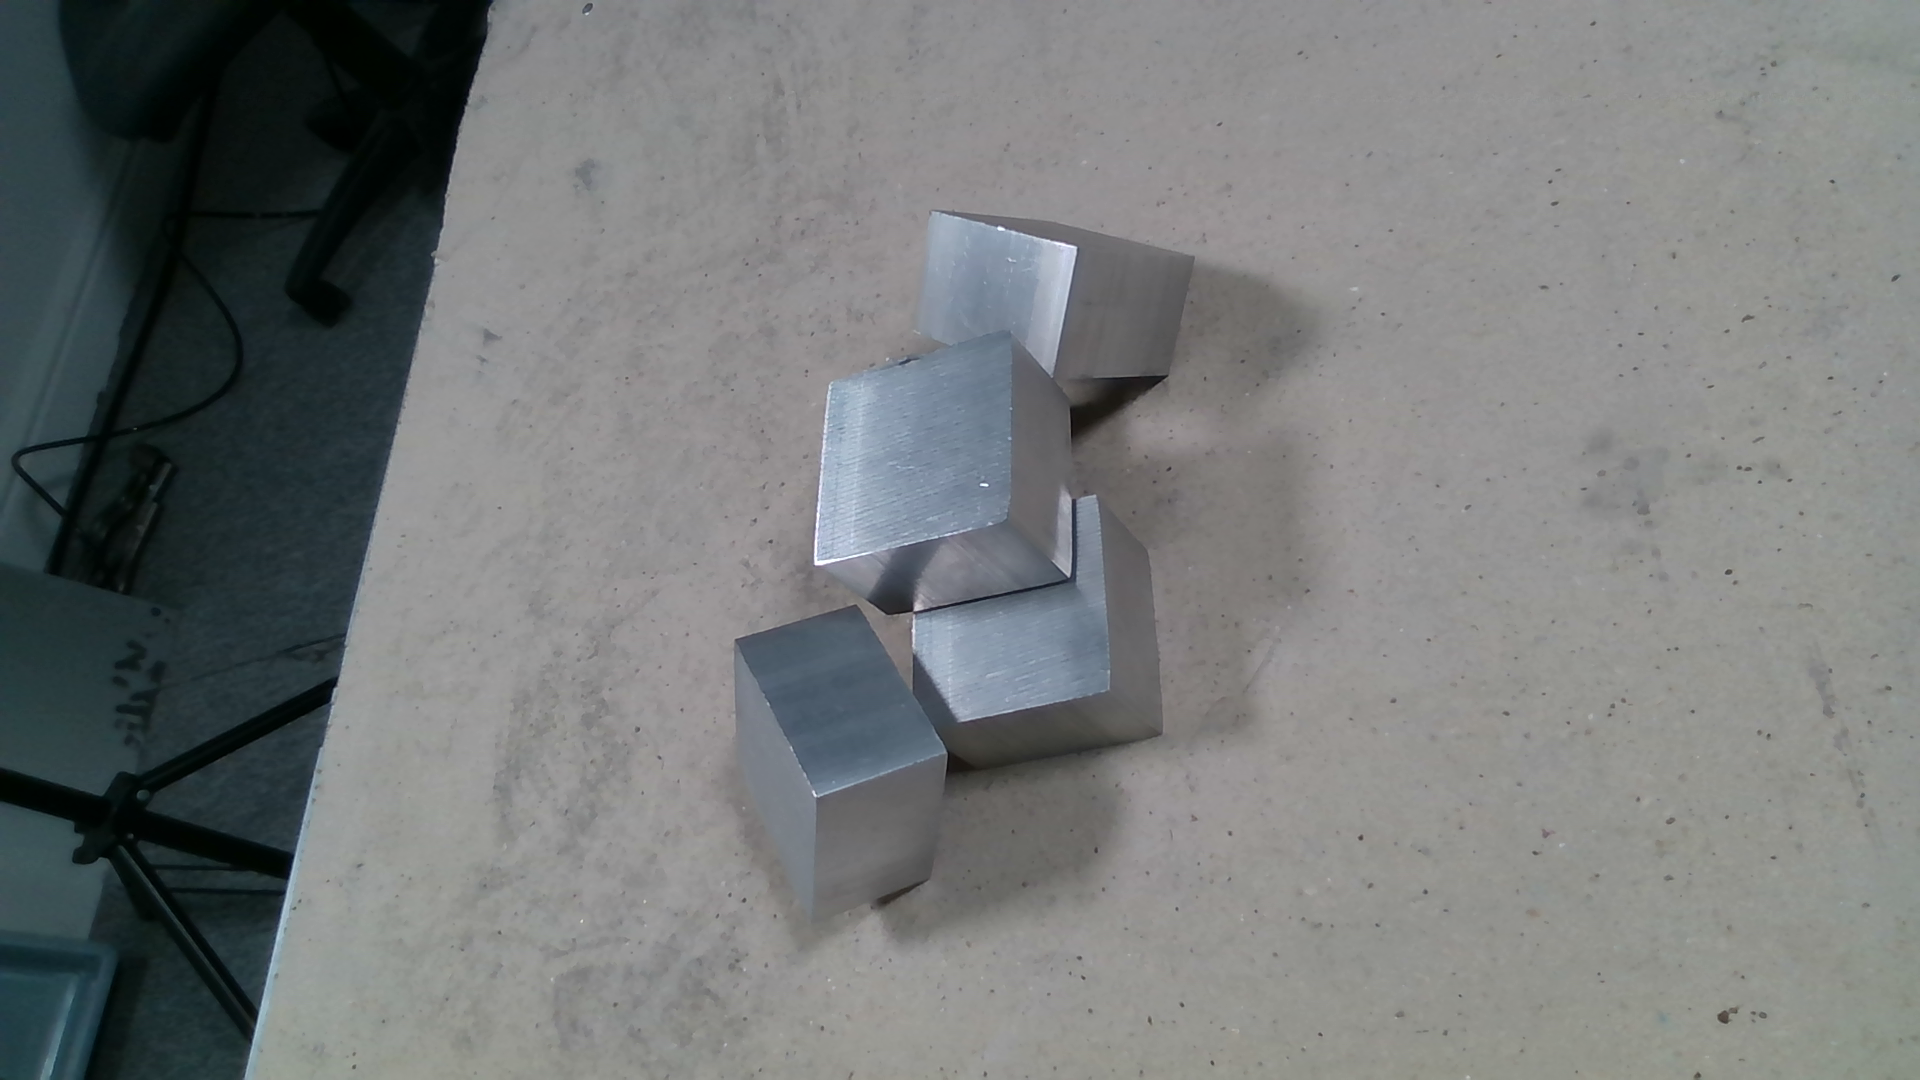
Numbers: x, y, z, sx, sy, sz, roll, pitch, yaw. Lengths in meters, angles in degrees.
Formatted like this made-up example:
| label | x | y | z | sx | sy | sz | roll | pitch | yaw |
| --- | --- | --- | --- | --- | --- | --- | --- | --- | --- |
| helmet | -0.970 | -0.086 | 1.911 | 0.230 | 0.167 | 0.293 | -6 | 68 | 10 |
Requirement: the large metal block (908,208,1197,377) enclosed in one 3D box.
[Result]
| label | x | y | z | sx | sy | sz | roll | pitch | yaw |
| --- | --- | --- | --- | --- | --- | --- | --- | --- | --- |
| large metal block | 0.038 | -0.103 | 0.572 | 0.080 | 0.080 | 0.050 | 25 | 113 | 38 |

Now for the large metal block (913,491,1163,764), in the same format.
| label | x | y | z | sx | sy | sz | roll | pitch | yaw |
| --- | --- | --- | --- | --- | --- | --- | --- | --- | --- |
| large metal block | 0.029 | 0.036 | 0.533 | 0.080 | 0.050 | 0.080 | -14 | 59 | 25 |

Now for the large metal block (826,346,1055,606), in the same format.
| label | x | y | z | sx | sy | sz | roll | pitch | yaw |
| --- | --- | --- | --- | --- | --- | --- | --- | --- | --- |
| large metal block | -0.008 | -0.025 | 0.585 | 0.080 | 0.050 | 0.080 | -14 | 59 | 25 |

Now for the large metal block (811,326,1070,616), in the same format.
| label | x | y | z | sx | sy | sz | roll | pitch | yaw |
| --- | --- | --- | --- | --- | --- | --- | --- | --- | --- |
| large metal block | -0.006 | -0.024 | 0.518 | 0.080 | 0.050 | 0.080 | -12 | 60 | 26 |

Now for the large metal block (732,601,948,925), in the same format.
| label | x | y | z | sx | sy | sz | roll | pitch | yaw |
| --- | --- | --- | --- | --- | --- | --- | --- | --- | --- |
| large metal block | -0.048 | 0.085 | 0.527 | 0.050 | 0.080 | 0.080 | -16 | 48 | -23 |
